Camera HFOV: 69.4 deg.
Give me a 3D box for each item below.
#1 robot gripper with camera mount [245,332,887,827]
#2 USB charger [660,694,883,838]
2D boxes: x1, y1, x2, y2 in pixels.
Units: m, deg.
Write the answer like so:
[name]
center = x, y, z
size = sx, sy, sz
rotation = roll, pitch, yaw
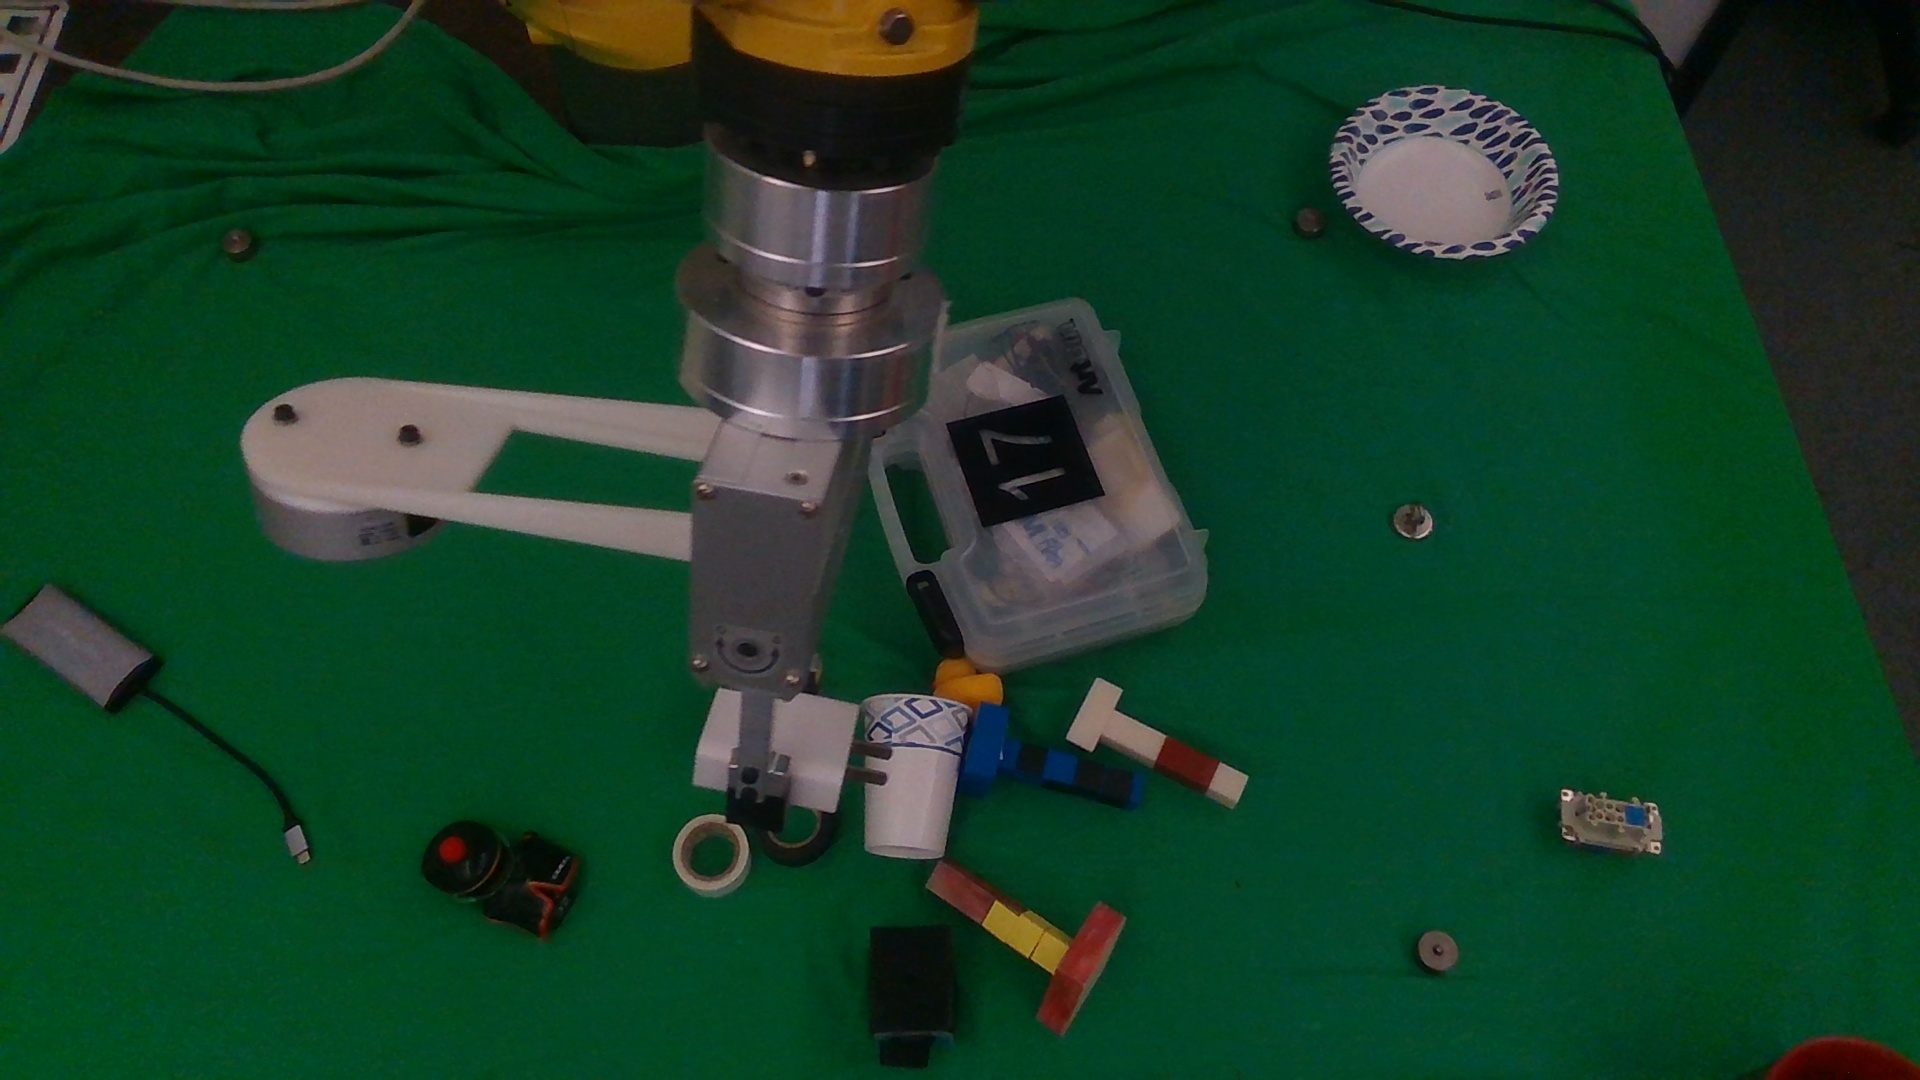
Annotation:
[robot gripper with camera mount]
center = -0.139, 0.013, 0.462
size = 0.193, 0.159, 0.119
rotation = 12, 37, -2
[USB charger]
center = -0.067, 0.085, 0.511
size = 0.076, 0.029, 0.044
rotation = 13, 46, 6
